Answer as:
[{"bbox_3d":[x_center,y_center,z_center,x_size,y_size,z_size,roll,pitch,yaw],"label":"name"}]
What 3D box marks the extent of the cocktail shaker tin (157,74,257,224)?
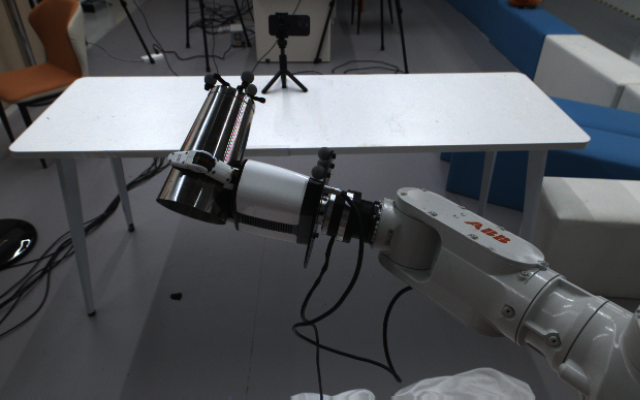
[{"bbox_3d":[-0.144,-0.062,0.645,0.093,0.093,0.170,12,74,14],"label":"cocktail shaker tin"}]
